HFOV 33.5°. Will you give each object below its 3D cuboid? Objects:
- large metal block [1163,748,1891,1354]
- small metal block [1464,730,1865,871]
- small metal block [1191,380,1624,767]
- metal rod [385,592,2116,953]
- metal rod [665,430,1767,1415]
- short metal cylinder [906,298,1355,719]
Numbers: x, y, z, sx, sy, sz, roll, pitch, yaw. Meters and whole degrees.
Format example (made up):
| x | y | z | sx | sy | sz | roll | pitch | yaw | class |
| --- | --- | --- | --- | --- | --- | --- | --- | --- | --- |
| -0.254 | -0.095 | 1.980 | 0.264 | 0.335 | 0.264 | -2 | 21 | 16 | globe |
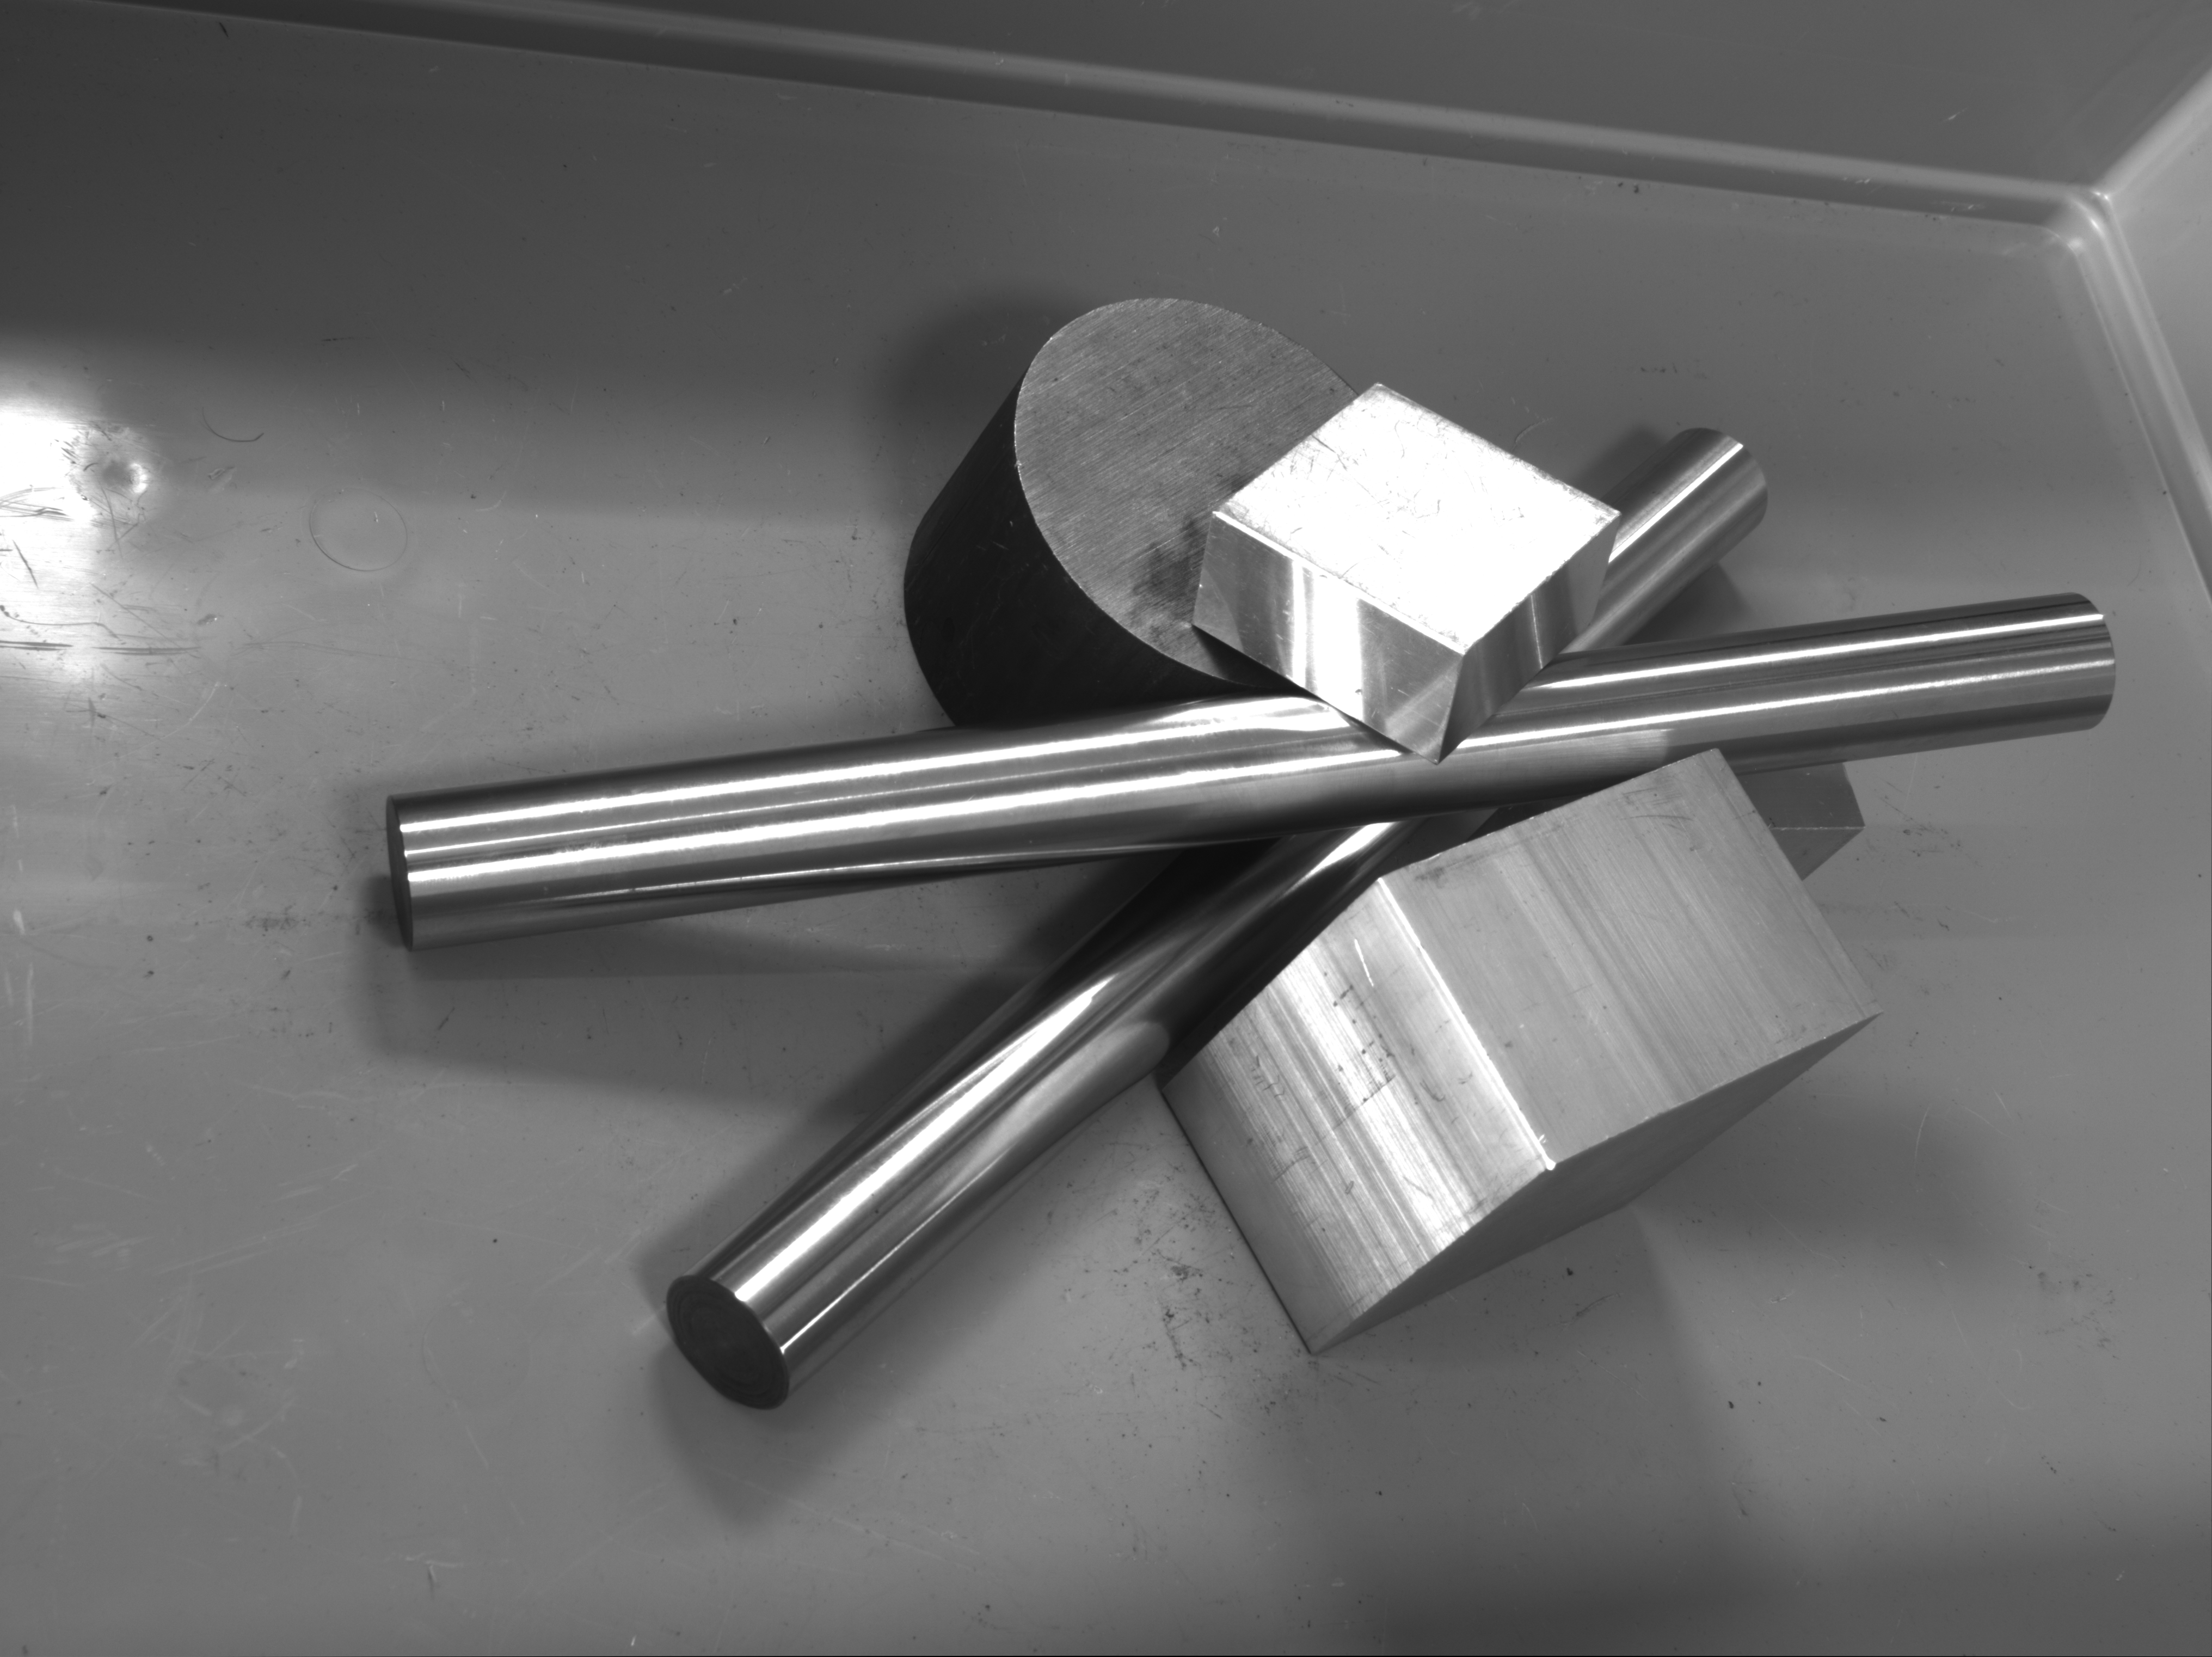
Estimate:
| x | y | z | sx | sy | sz | roll | pitch | yaw | class |
| --- | --- | --- | --- | --- | --- | --- | --- | --- | --- |
| 0.069 | 0.037 | 0.616 | 0.080 | 0.080 | 0.050 | -19 | 72 | -35 | large metal block |
| 0.102 | 0.001 | 0.676 | 0.050 | 0.050 | 0.025 | 0 | 61 | -27 | small metal block |
| 0.051 | -0.044 | 0.617 | 0.050 | 0.025 | 0.050 | 31 | 48 | 21 | small metal block |
| 0.032 | -0.012 | 0.617 | 0.301 | 0.025 | 0.025 | -7 | 65 | -17 | metal rod |
| 0.033 | 0.005 | 0.654 | 0.025 | 0.025 | 0.301 | 47 | 51 | 5 | metal rod |
| 0.011 | -0.047 | 0.656 | 0.080 | 0.050 | 0.080 | 14 | 55 | -20 | short metal cylinder |
